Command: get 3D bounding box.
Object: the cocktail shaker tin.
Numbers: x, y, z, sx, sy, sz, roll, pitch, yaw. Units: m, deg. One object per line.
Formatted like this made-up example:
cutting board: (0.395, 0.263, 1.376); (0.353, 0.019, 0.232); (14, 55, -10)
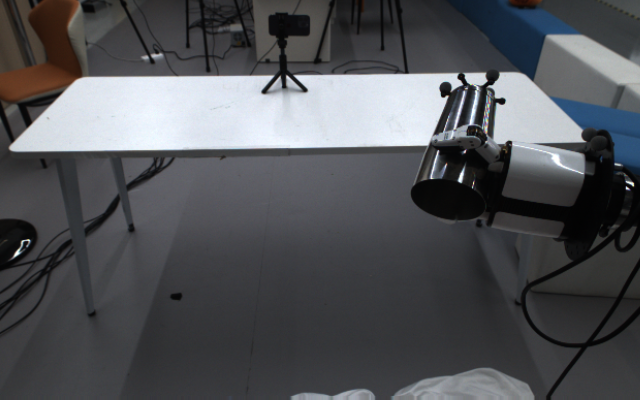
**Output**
cocktail shaker tin: (0.184, -0.069, 0.636); (0.093, 0.093, 0.170); (13, 60, 16)
